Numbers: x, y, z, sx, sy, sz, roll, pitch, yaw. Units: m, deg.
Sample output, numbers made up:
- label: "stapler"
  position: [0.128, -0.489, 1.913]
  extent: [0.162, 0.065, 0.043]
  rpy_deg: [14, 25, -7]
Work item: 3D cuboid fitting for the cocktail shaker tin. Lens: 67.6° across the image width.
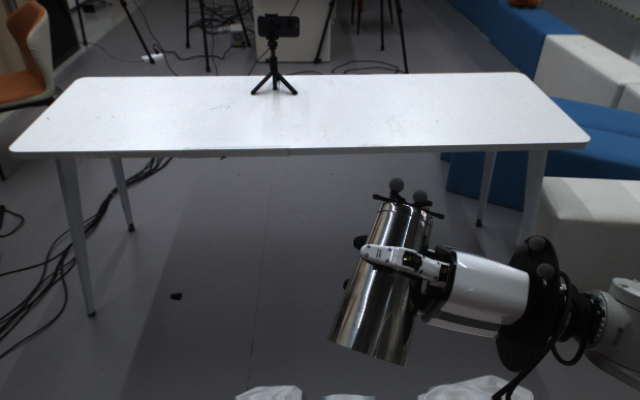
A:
- label: "cocktail shaker tin"
  position: [0.080, 0.094, 0.562]
  extent: [0.093, 0.093, 0.170]
  rpy_deg: [14, 75, 17]
